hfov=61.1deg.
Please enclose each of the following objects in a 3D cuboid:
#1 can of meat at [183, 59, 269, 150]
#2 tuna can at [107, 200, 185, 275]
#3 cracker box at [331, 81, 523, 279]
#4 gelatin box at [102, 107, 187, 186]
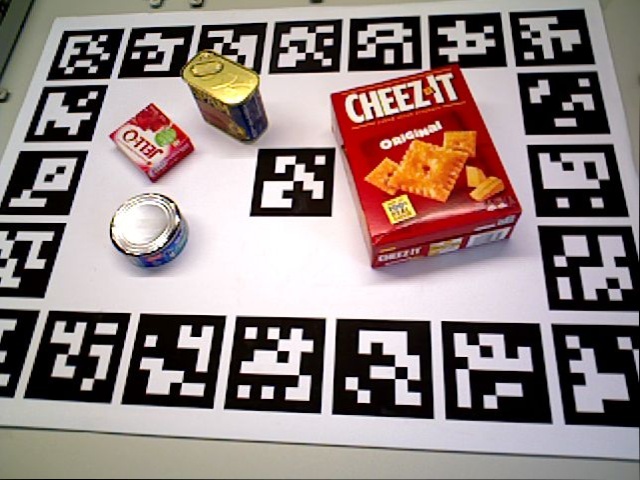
[{"bbox_3d":[-0.119,-0.175,0.713,0.102,0.085,0.057,29,68,20],"label":"can of meat"},{"bbox_3d":[-0.207,-0.002,0.651,0.085,0.034,0.085,-3,66,6],"label":"tuna can"},{"bbox_3d":[0.115,-0.077,0.642,0.163,0.073,0.211,-14,61,-3],"label":"cracker box"},{"bbox_3d":[-0.232,-0.126,0.722,0.072,0.030,0.089,-42,69,-18],"label":"gelatin box"}]
